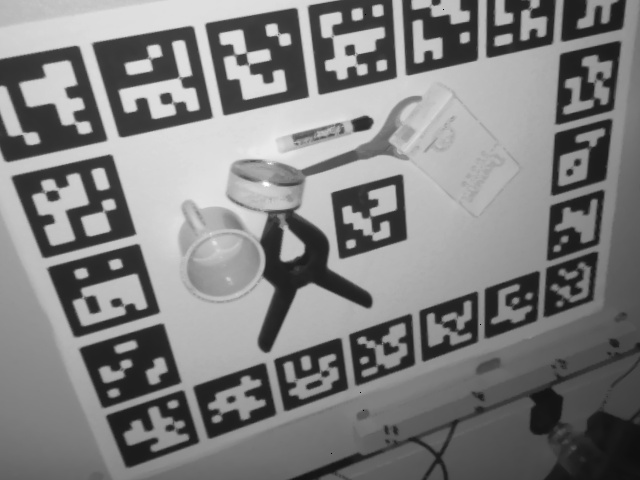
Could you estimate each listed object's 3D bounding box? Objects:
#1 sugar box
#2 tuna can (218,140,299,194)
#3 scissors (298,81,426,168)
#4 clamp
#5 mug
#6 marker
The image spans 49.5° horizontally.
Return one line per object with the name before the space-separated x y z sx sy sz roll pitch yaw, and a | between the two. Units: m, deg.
sugar box | 0.174 -0.121 0.853 0.092 0.045 0.177 -46 127 6
tuna can | -0.067 -0.082 0.764 0.087 0.085 0.033 3 114 -21
scissors | 0.065 -0.123 0.830 0.204 0.016 0.087 -23 124 -7
clamp | -0.032 0.022 0.867 0.166 0.036 0.202 -23 119 -8
mug | -0.119 -0.024 0.778 0.093 0.081 0.117 -37 125 1
marker | 0.017 -0.150 0.802 0.122 0.019 0.019 -17 118 -13
